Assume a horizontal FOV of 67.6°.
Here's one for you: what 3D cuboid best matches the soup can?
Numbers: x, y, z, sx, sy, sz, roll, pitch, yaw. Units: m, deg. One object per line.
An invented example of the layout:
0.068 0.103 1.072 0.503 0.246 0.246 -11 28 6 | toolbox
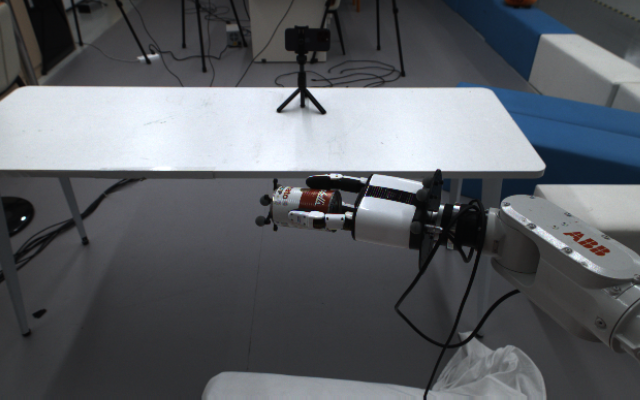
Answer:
-0.020 0.014 0.787 0.101 0.067 0.067 5 34 18 | soup can
